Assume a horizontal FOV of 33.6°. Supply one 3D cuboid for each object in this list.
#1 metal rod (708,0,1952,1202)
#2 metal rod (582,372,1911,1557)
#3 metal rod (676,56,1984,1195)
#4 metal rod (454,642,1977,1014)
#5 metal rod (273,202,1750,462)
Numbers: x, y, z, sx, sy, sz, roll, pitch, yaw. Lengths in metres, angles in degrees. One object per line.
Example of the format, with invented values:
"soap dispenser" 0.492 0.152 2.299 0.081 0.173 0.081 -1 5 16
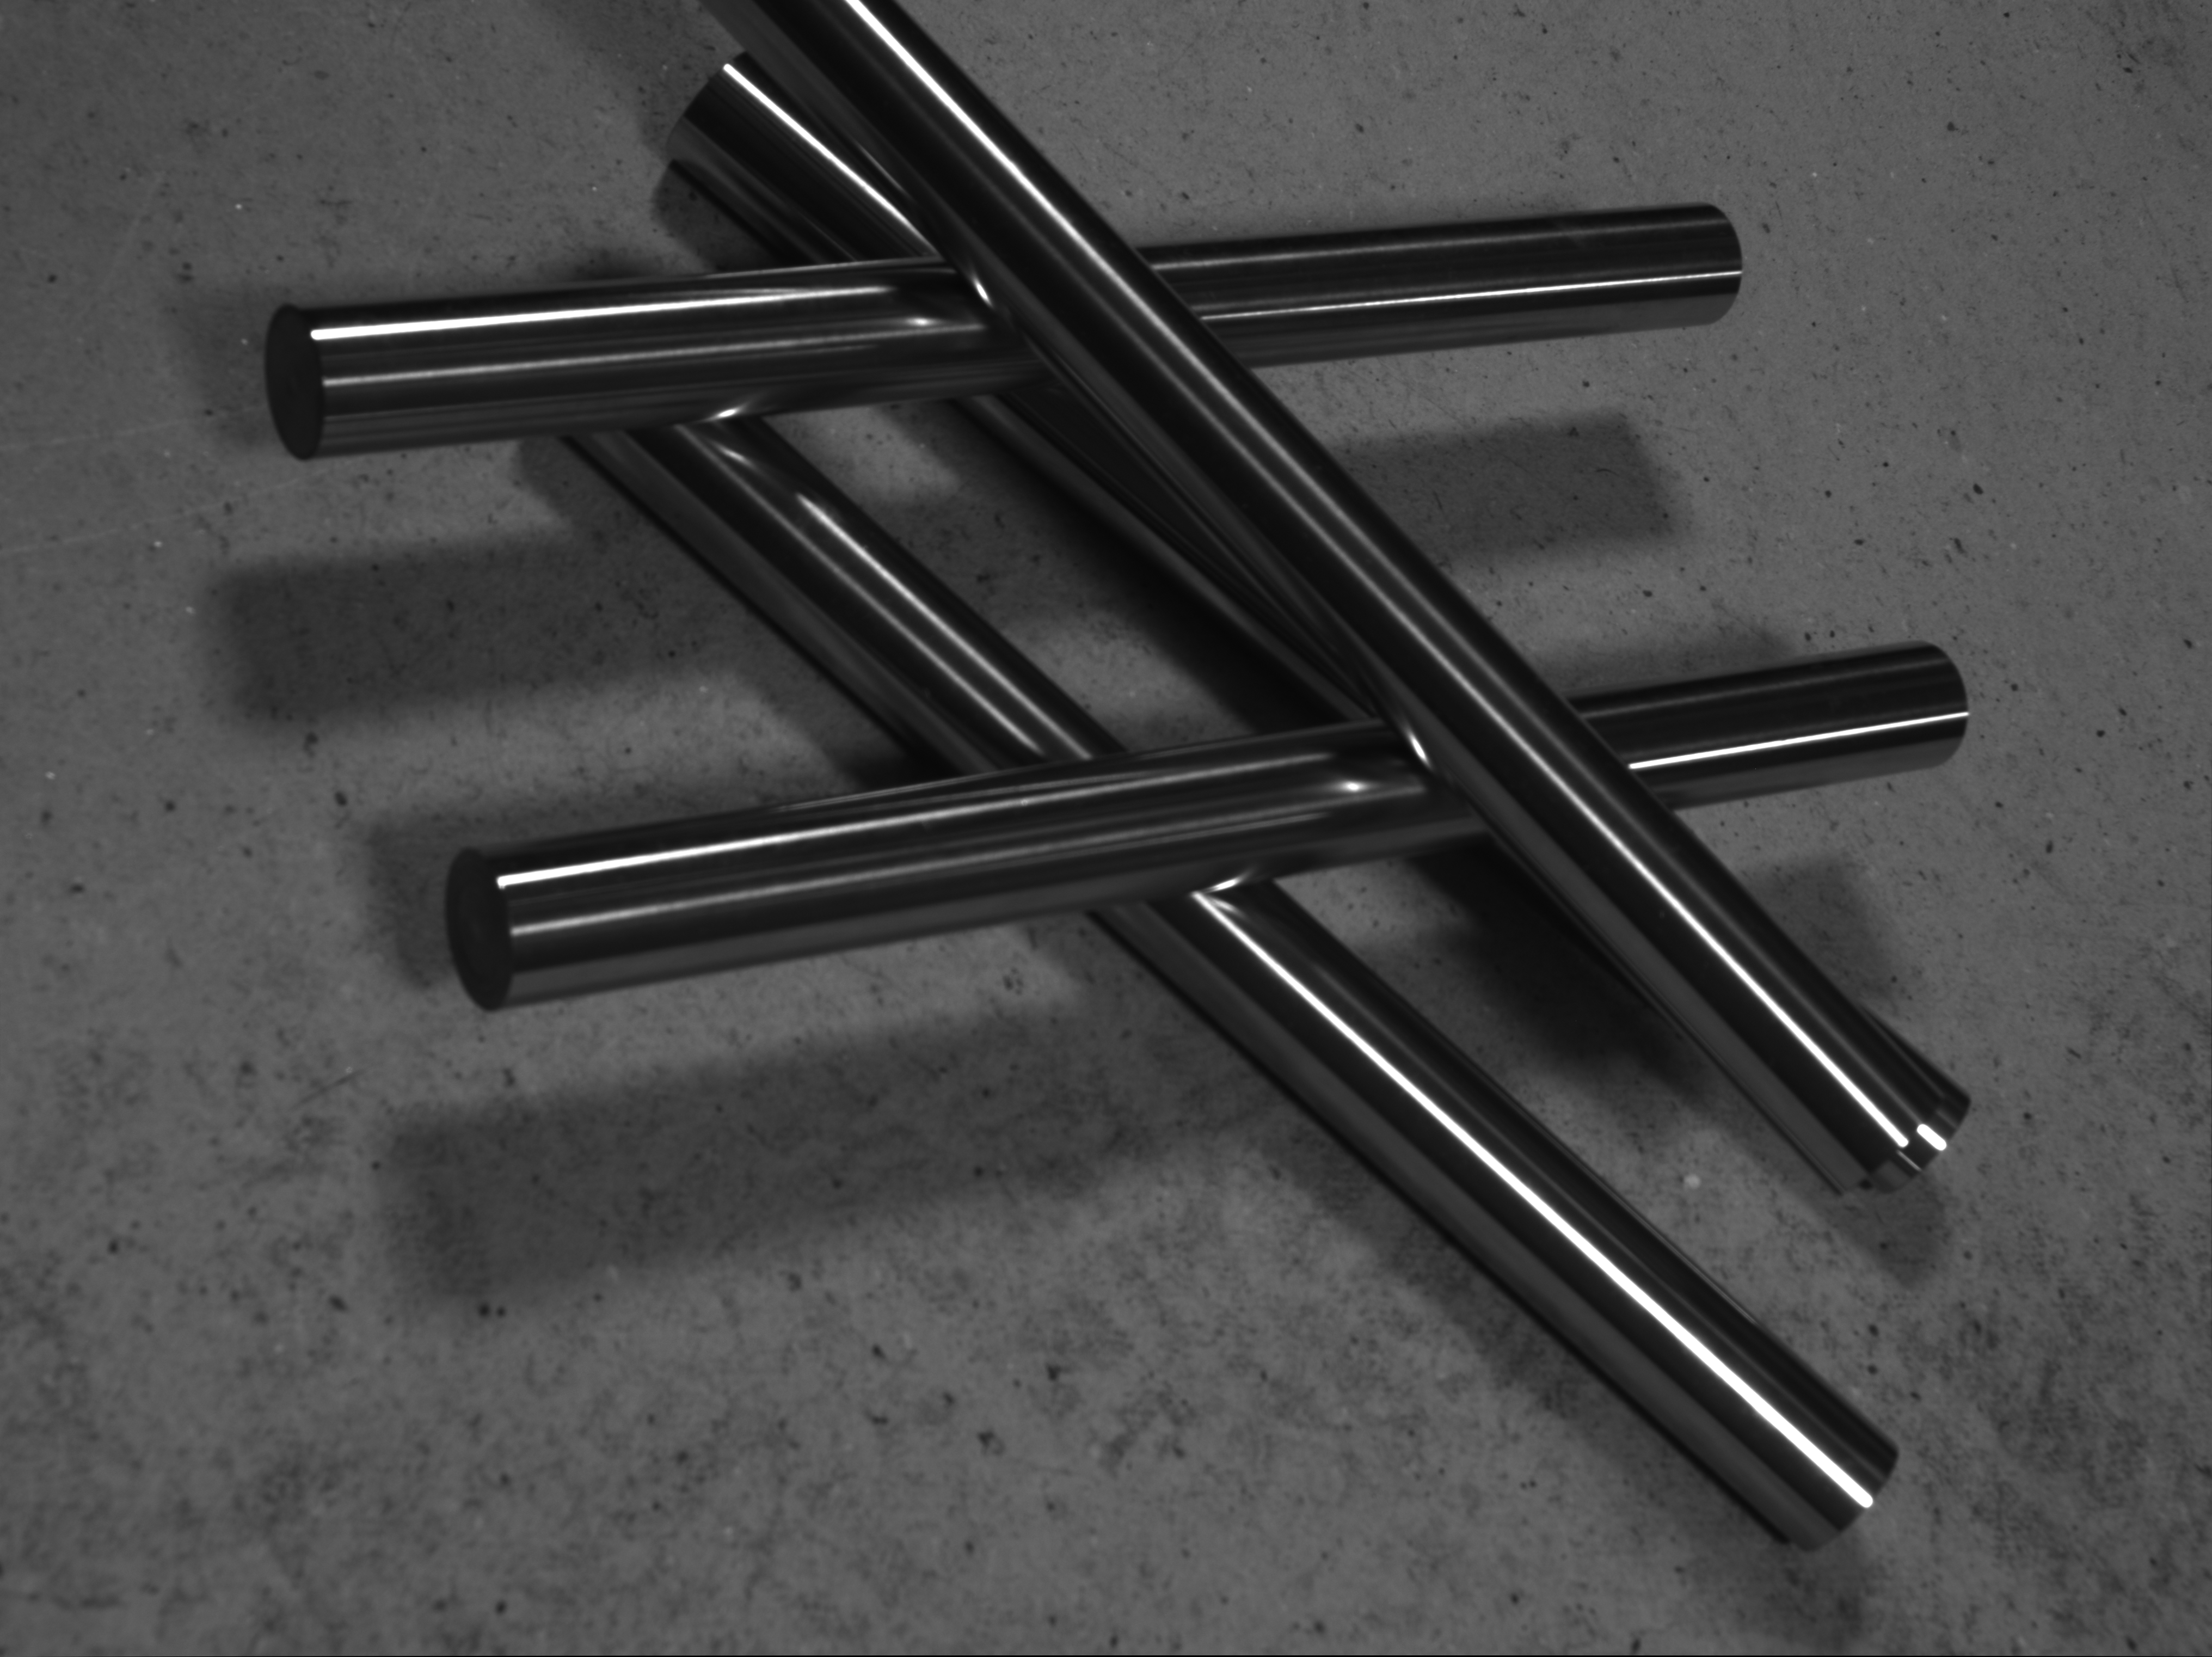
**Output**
"metal rod" 0.031 -0.055 0.626 0.300 0.025 0.025 47 51 4
"metal rod" 0.020 0.017 0.640 0.300 0.025 0.025 42 51 1
"metal rod" 0.042 -0.038 0.686 0.300 0.025 0.025 40 51 -1
"metal rod" 0.033 -0.004 0.629 0.301 0.025 0.025 -9 66 -32
"metal rod" -0.003 -0.093 0.664 0.301 0.025 0.025 -10 67 -32
